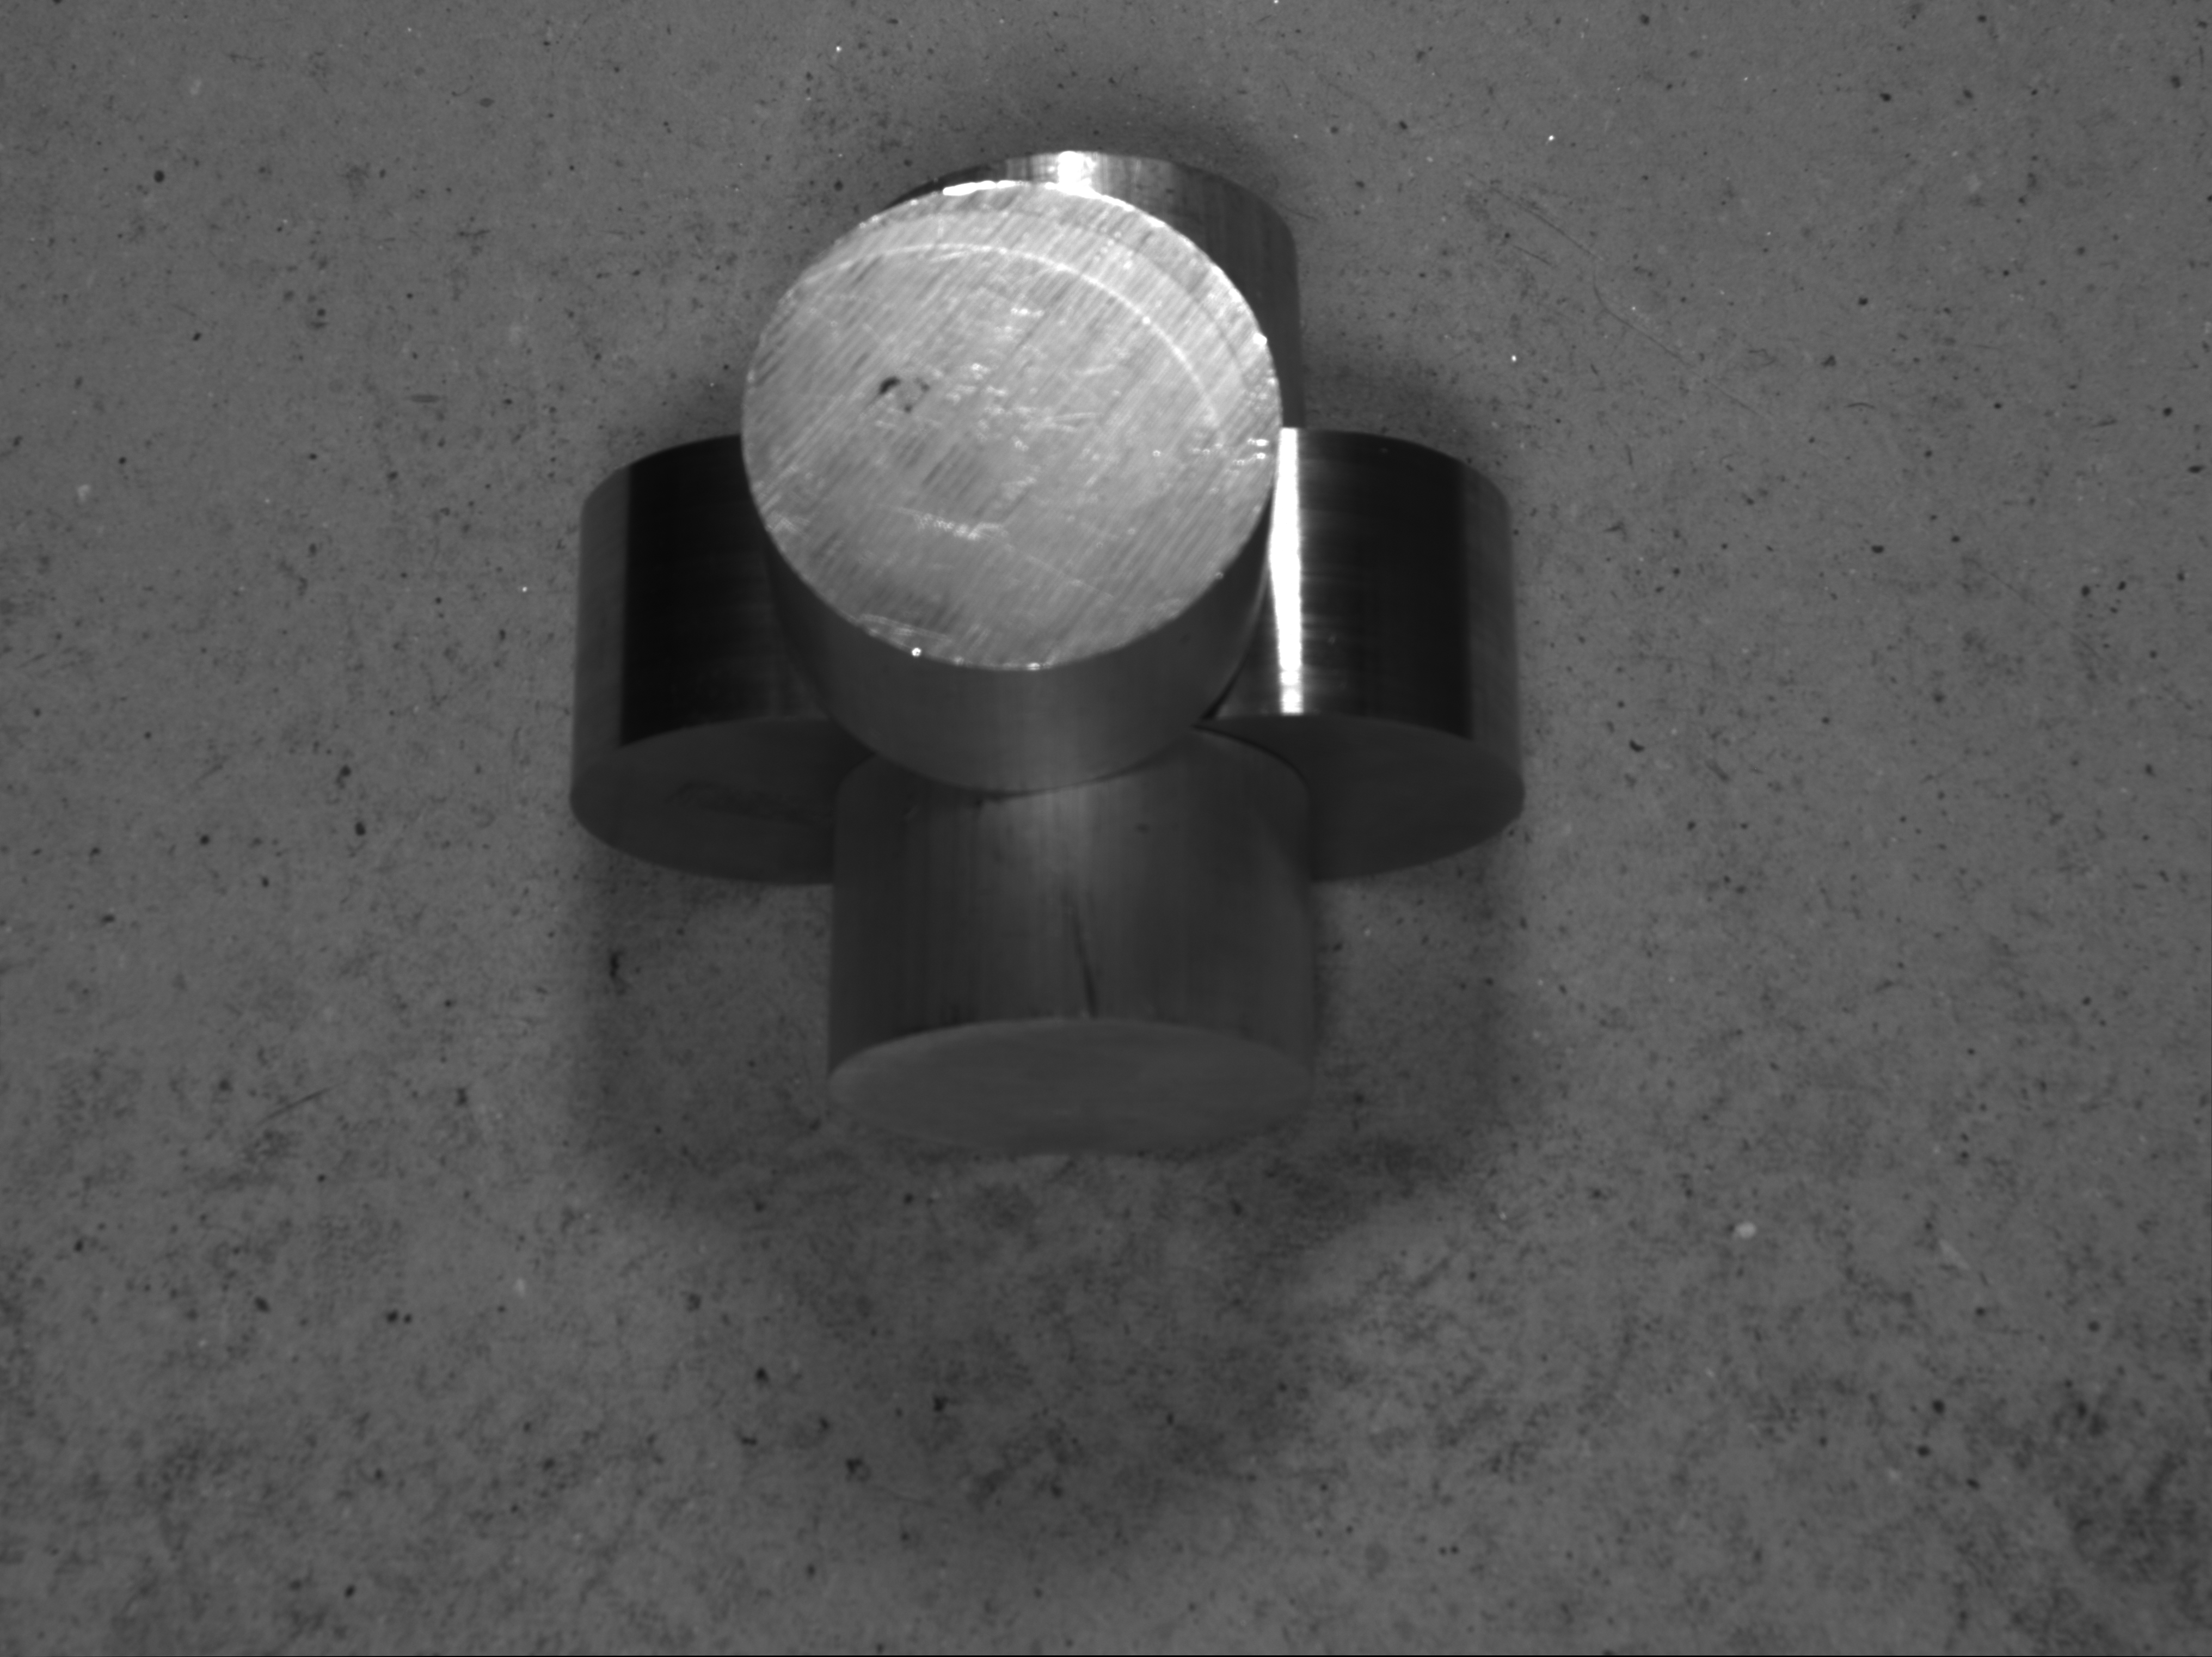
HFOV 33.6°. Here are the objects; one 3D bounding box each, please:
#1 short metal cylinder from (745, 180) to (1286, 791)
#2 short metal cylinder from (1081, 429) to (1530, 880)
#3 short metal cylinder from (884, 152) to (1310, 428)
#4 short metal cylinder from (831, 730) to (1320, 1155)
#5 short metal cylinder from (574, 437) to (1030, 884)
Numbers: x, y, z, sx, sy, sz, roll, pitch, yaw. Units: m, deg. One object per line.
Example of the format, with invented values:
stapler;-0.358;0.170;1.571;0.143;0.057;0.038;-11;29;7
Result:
short metal cylinder;-0.013;-0.052;0.565;0.080;0.050;0.080;0;70;0
short metal cylinder;0.031;-0.028;0.626;0.080;0.080;0.050;0;70;0
short metal cylinder;-0.004;-0.076;0.644;0.080;0.080;0.050;-2;70;0
short metal cylinder;-0.005;0.020;0.608;0.080;0.080;0.050;0;70;0
short metal cylinder;-0.050;-0.027;0.626;0.080;0.080;0.050;-1;70;0
